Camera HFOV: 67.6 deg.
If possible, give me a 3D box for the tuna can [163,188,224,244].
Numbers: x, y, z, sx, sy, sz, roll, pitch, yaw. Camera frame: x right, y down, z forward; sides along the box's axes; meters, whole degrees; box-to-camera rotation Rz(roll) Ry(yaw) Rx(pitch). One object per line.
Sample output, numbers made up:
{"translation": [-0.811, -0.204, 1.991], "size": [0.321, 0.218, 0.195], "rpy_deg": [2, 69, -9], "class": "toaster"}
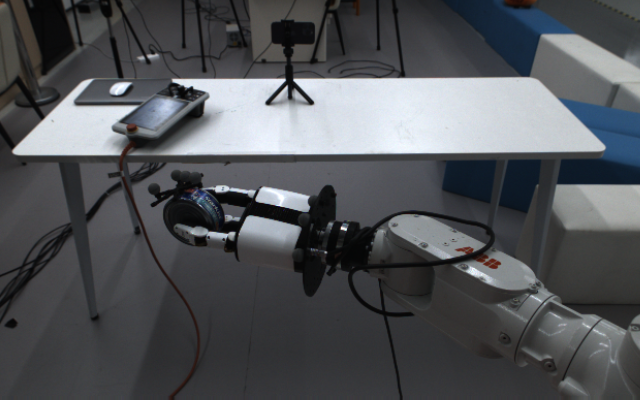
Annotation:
{"translation": [-0.186, 0.026, 0.715], "size": [0.085, 0.085, 0.034], "rpy_deg": [11, 34, 13], "class": "tuna can"}
